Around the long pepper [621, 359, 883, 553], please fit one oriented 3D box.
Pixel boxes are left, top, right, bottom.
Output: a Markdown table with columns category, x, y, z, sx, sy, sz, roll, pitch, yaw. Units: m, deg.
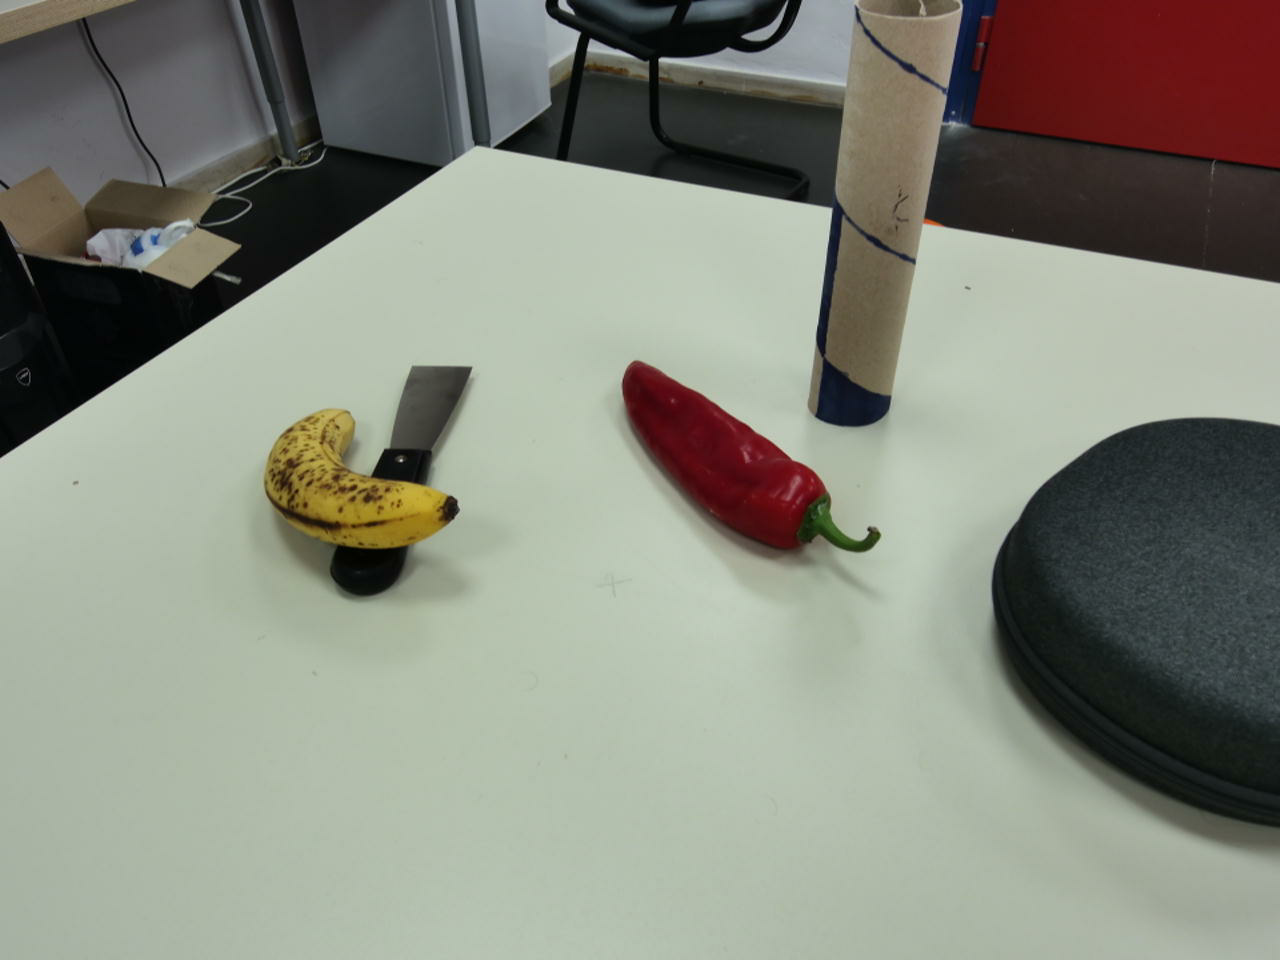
| category | x | y | z | sx | sy | sz | roll | pitch | yaw |
| --- | --- | --- | --- | --- | --- | --- | --- | --- | --- |
| long pepper | 0.045 | -0.013 | 0.534 | 0.050 | 0.043 | 0.211 | -21 | 43 | -25 |
